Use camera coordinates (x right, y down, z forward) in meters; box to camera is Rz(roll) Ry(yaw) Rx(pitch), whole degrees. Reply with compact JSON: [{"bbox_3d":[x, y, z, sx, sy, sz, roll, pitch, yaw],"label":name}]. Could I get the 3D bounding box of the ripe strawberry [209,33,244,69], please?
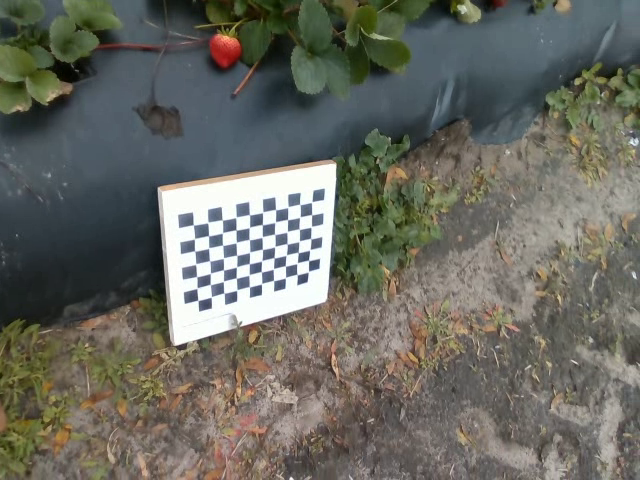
[{"bbox_3d":[-0.180,-0.327,0.865,0.061,0.065,0.049,-5,22,-33],"label":"ripe strawberry"}]
